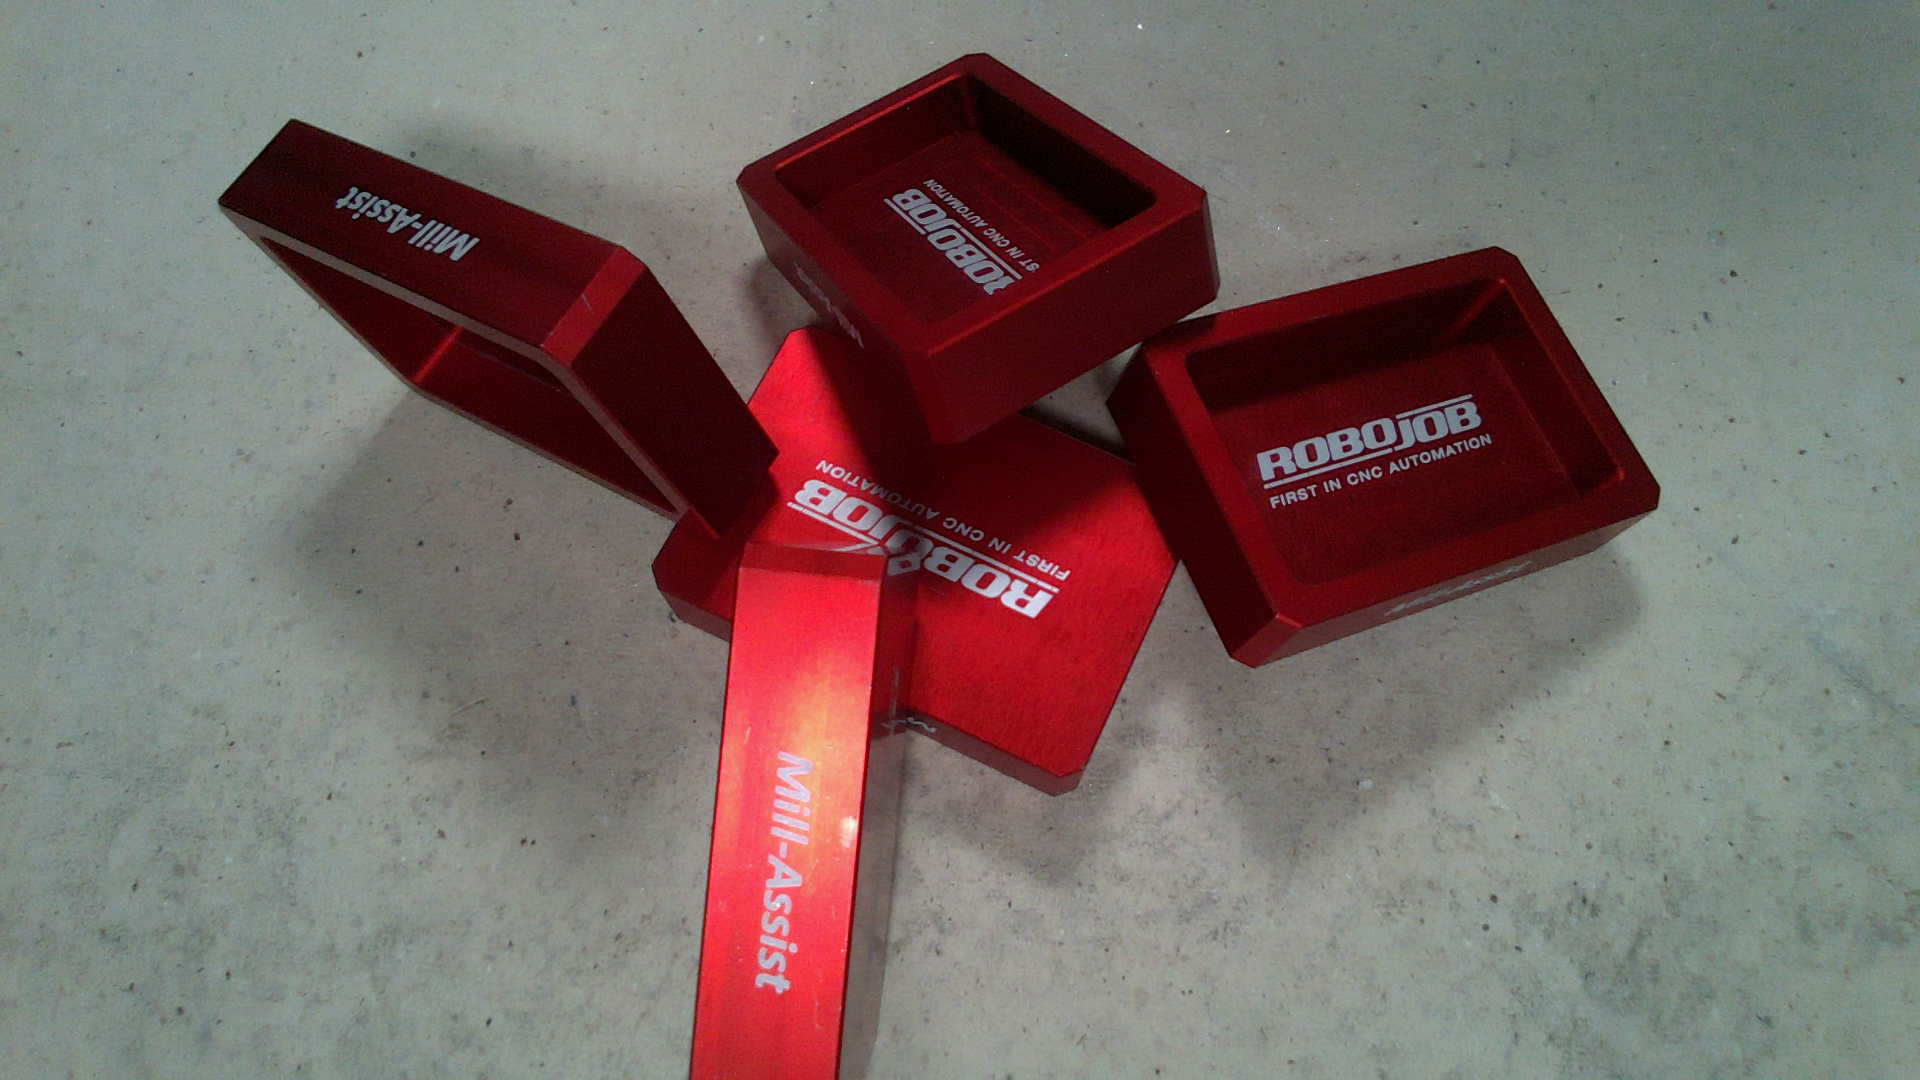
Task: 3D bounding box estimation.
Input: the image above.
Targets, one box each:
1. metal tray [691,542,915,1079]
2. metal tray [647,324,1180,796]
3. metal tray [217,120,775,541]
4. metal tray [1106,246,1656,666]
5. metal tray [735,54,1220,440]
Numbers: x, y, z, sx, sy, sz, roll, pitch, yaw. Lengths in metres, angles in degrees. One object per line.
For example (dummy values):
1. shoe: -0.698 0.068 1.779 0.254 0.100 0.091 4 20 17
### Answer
1. metal tray: -0.033 0.066 0.315 0.030 0.090 0.130 5 91 3
2. metal tray: -0.009 0.005 0.390 0.130 0.030 0.090 24 72 8
3. metal tray: -0.120 -0.054 0.363 0.130 0.090 0.030 25 71 26
4. metal tray: 0.117 -0.027 0.385 0.130 0.030 0.090 -16 70 -21
5. metal tray: 0.001 -0.090 0.393 0.090 0.030 0.130 -30 44 -10
